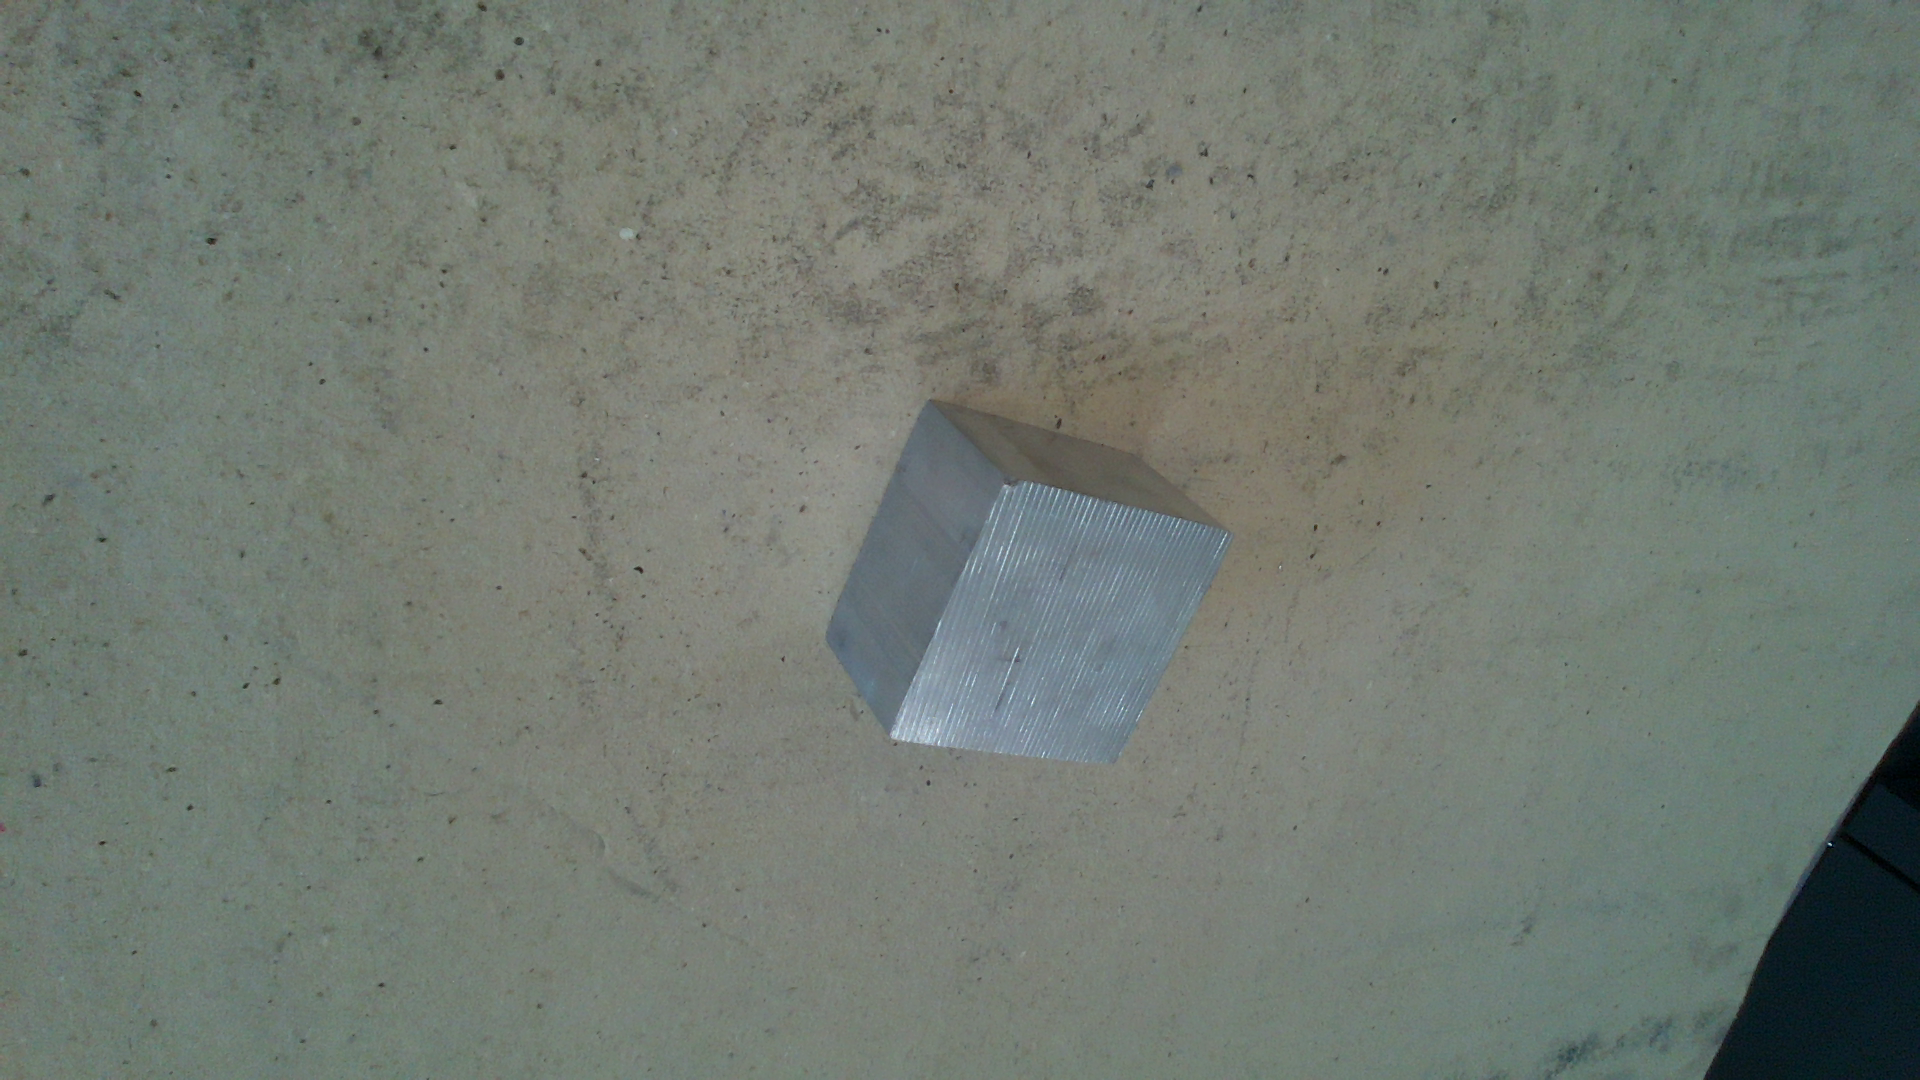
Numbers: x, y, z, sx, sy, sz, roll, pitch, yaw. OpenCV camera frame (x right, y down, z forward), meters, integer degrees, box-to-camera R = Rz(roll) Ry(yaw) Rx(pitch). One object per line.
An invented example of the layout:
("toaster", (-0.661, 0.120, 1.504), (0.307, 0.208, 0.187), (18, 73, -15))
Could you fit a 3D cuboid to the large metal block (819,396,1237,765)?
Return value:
("large metal block", (0.018, 0.014, 0.391), (0.080, 0.050, 0.080), (11, 113, -34))
